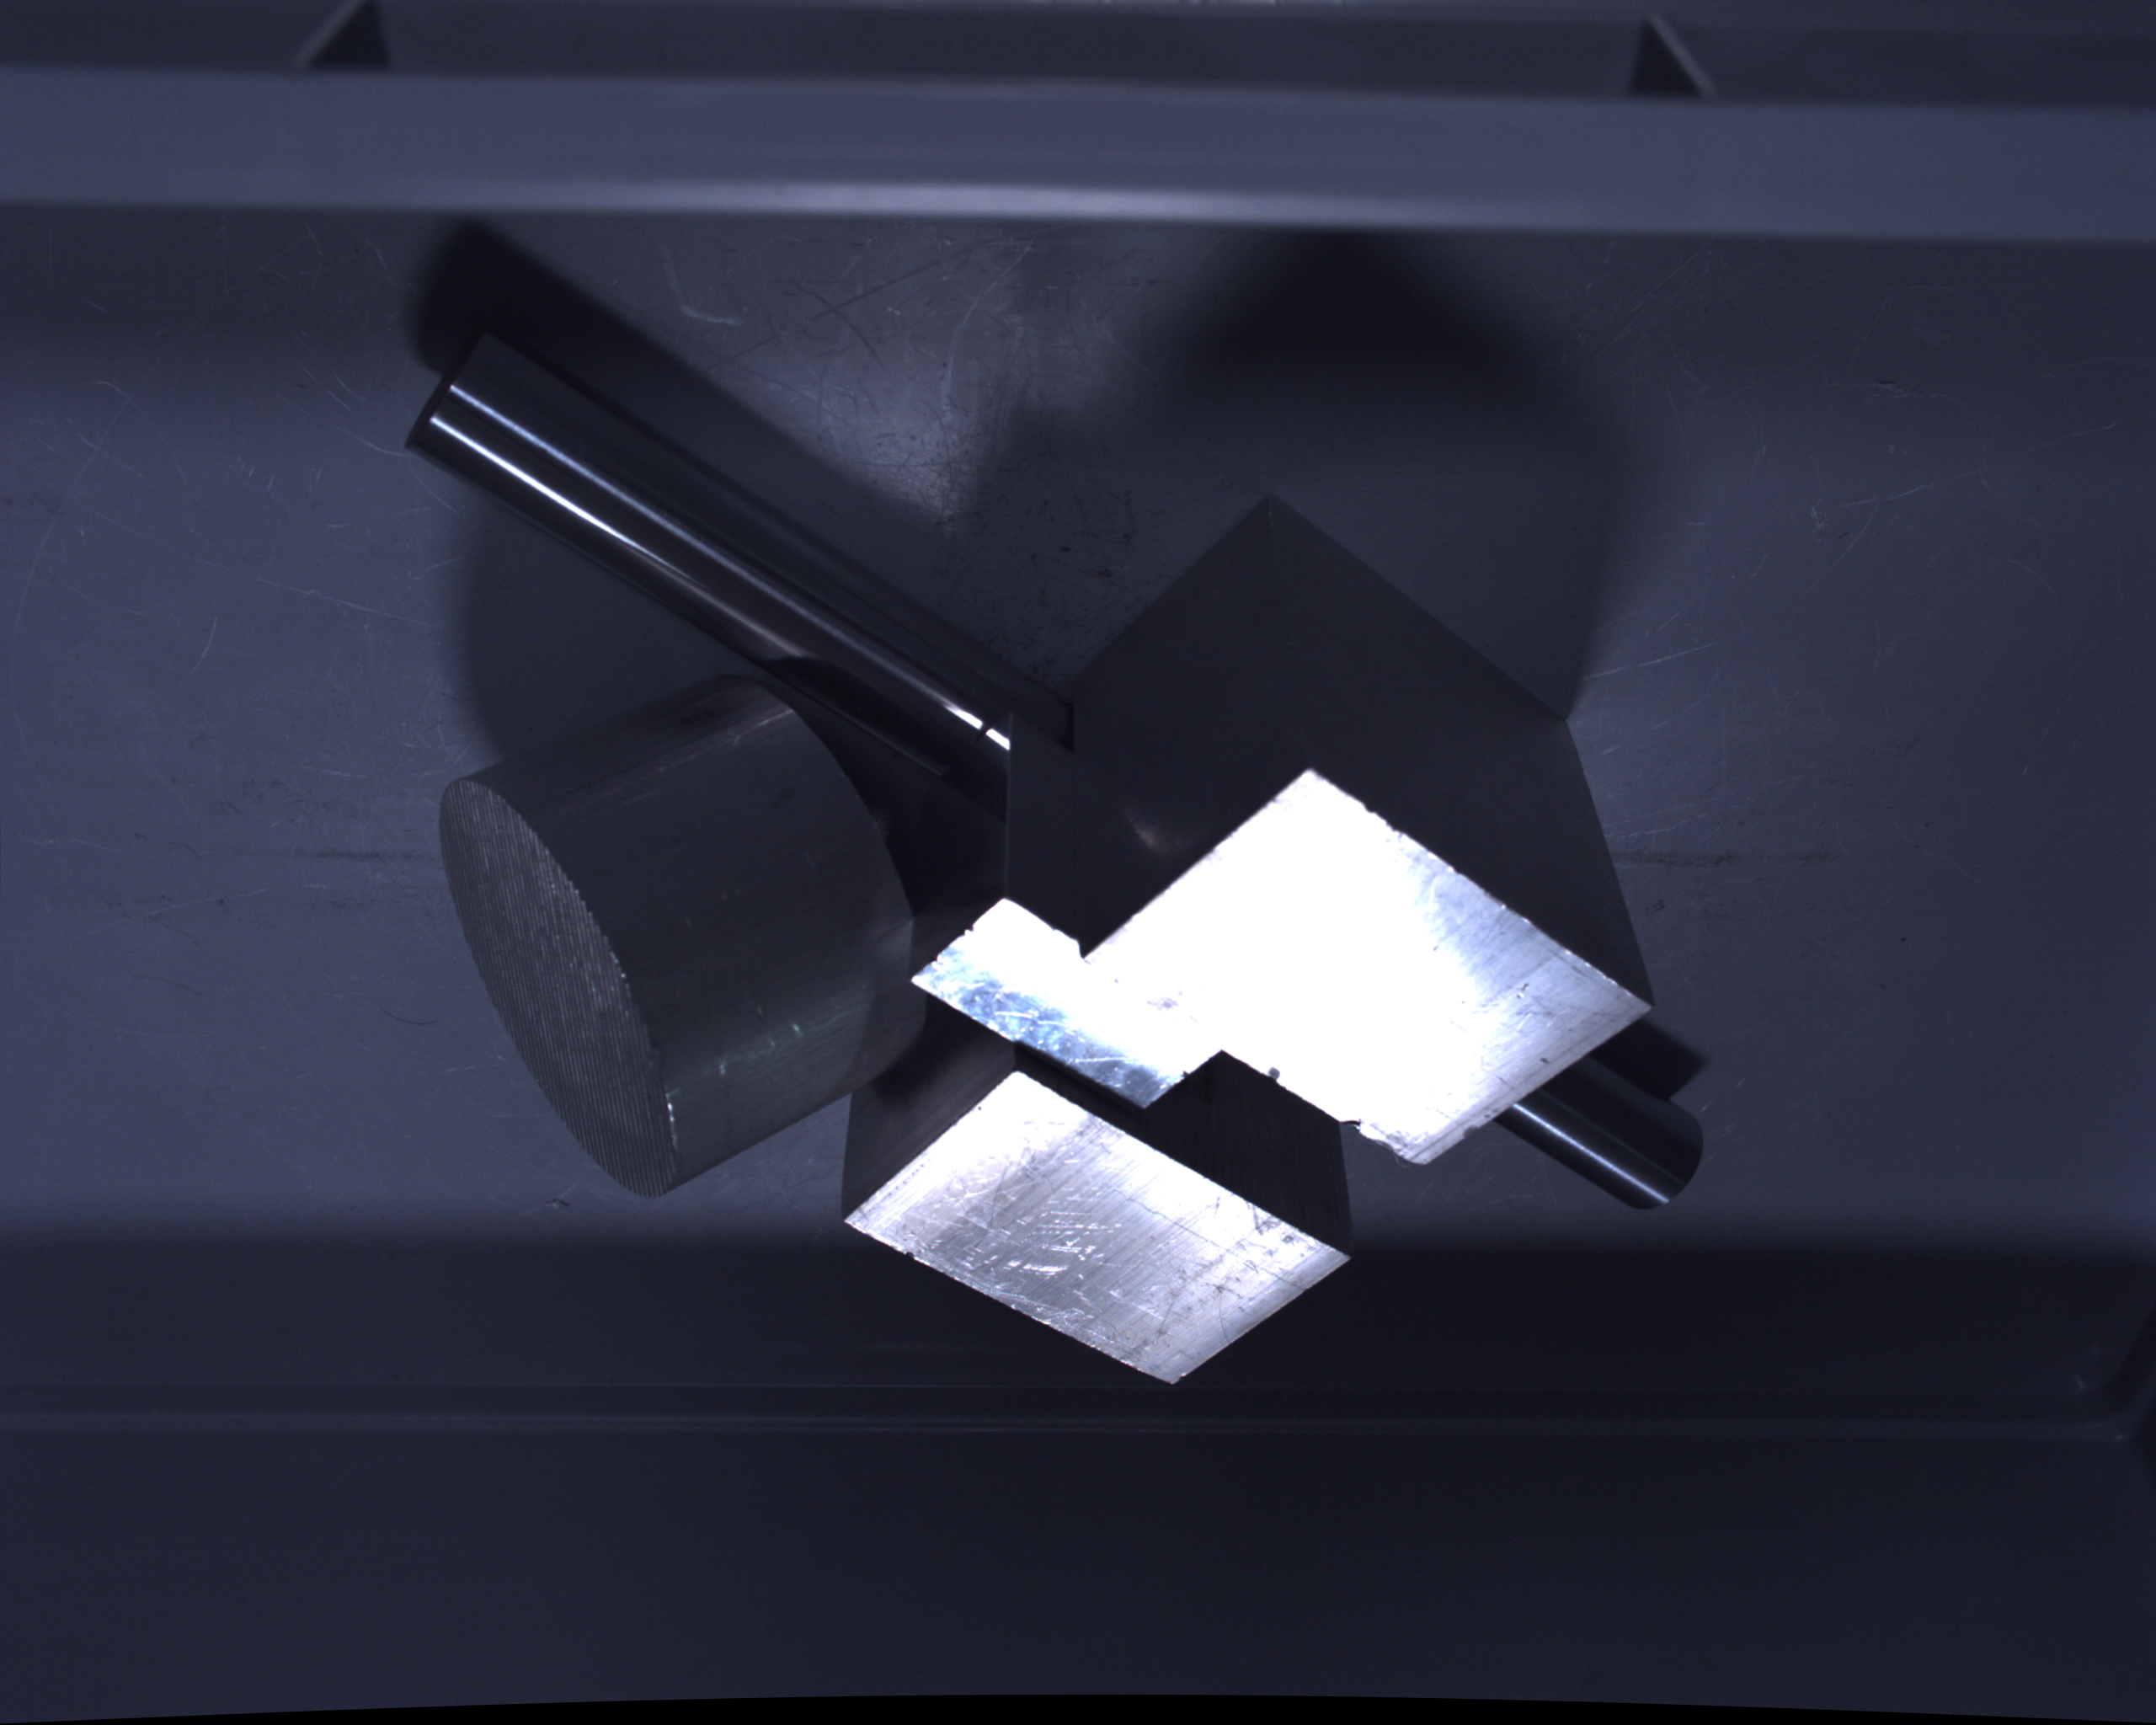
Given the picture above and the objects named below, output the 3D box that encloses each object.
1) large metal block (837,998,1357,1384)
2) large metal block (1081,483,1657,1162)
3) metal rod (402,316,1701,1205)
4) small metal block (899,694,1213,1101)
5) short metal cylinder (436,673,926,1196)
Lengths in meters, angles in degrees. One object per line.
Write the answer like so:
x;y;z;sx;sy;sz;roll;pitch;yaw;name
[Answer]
0.004;0.042;0.408;0.080;0.080;0.050;32;123;-25;large metal block
0.048;-0.007;0.367;0.080;0.080;0.050;33;123;-25;large metal block
0.013;-0.007;0.403;0.301;0.025;0.025;32;123;-25;metal rod
-0.002;0.006;0.366;0.050;0.050;0.025;33;122;-25;small metal block
-0.072;0.012;0.373;0.050;0.080;0.079;-28;138;-30;short metal cylinder
